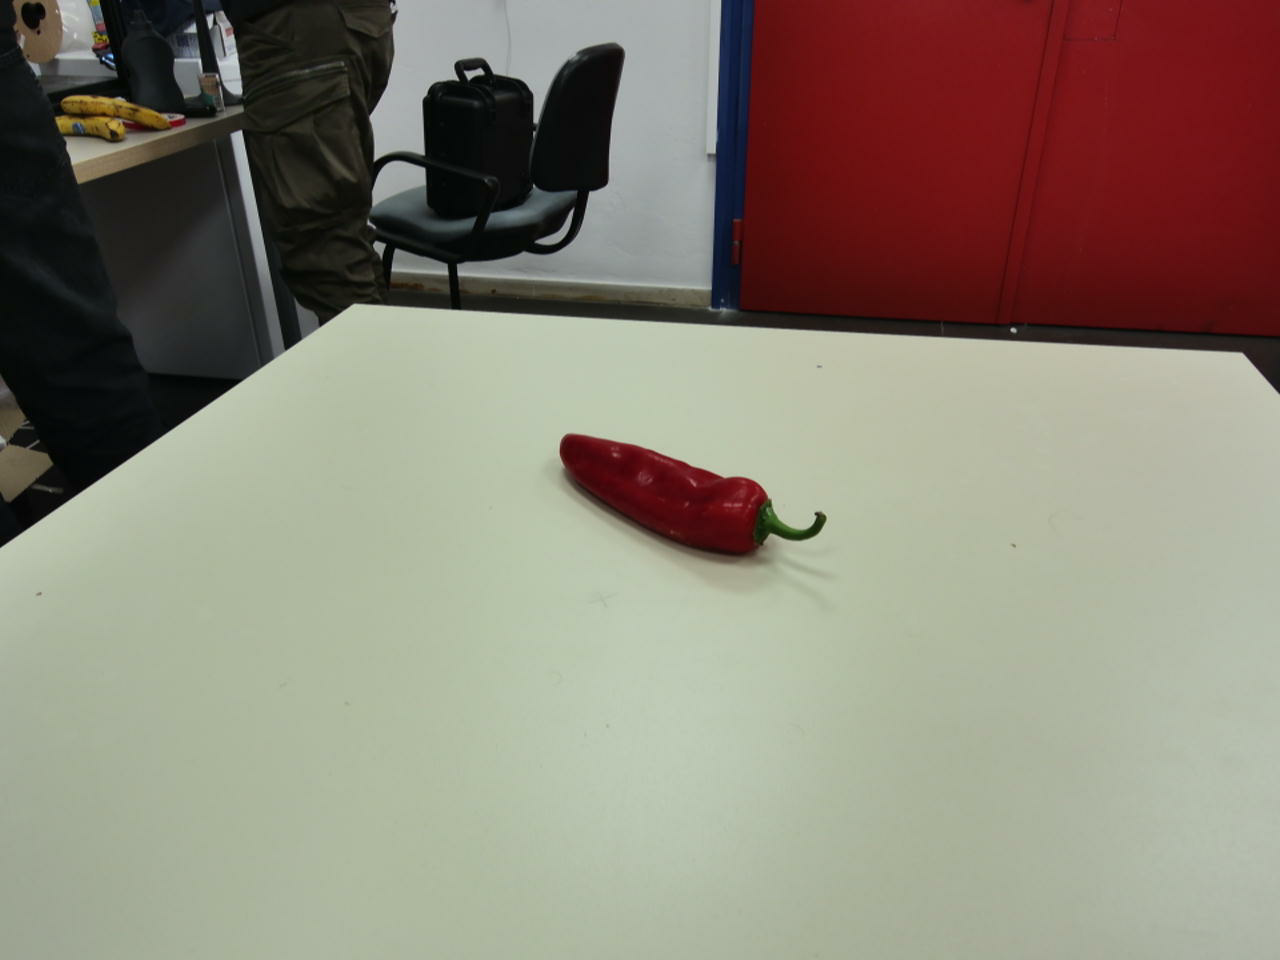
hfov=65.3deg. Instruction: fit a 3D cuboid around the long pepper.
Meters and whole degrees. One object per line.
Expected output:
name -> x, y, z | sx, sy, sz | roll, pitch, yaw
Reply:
long pepper -> 0.018, 0.006, 0.607 | 0.211, 0.043, 0.050 | 22, 34, 39
